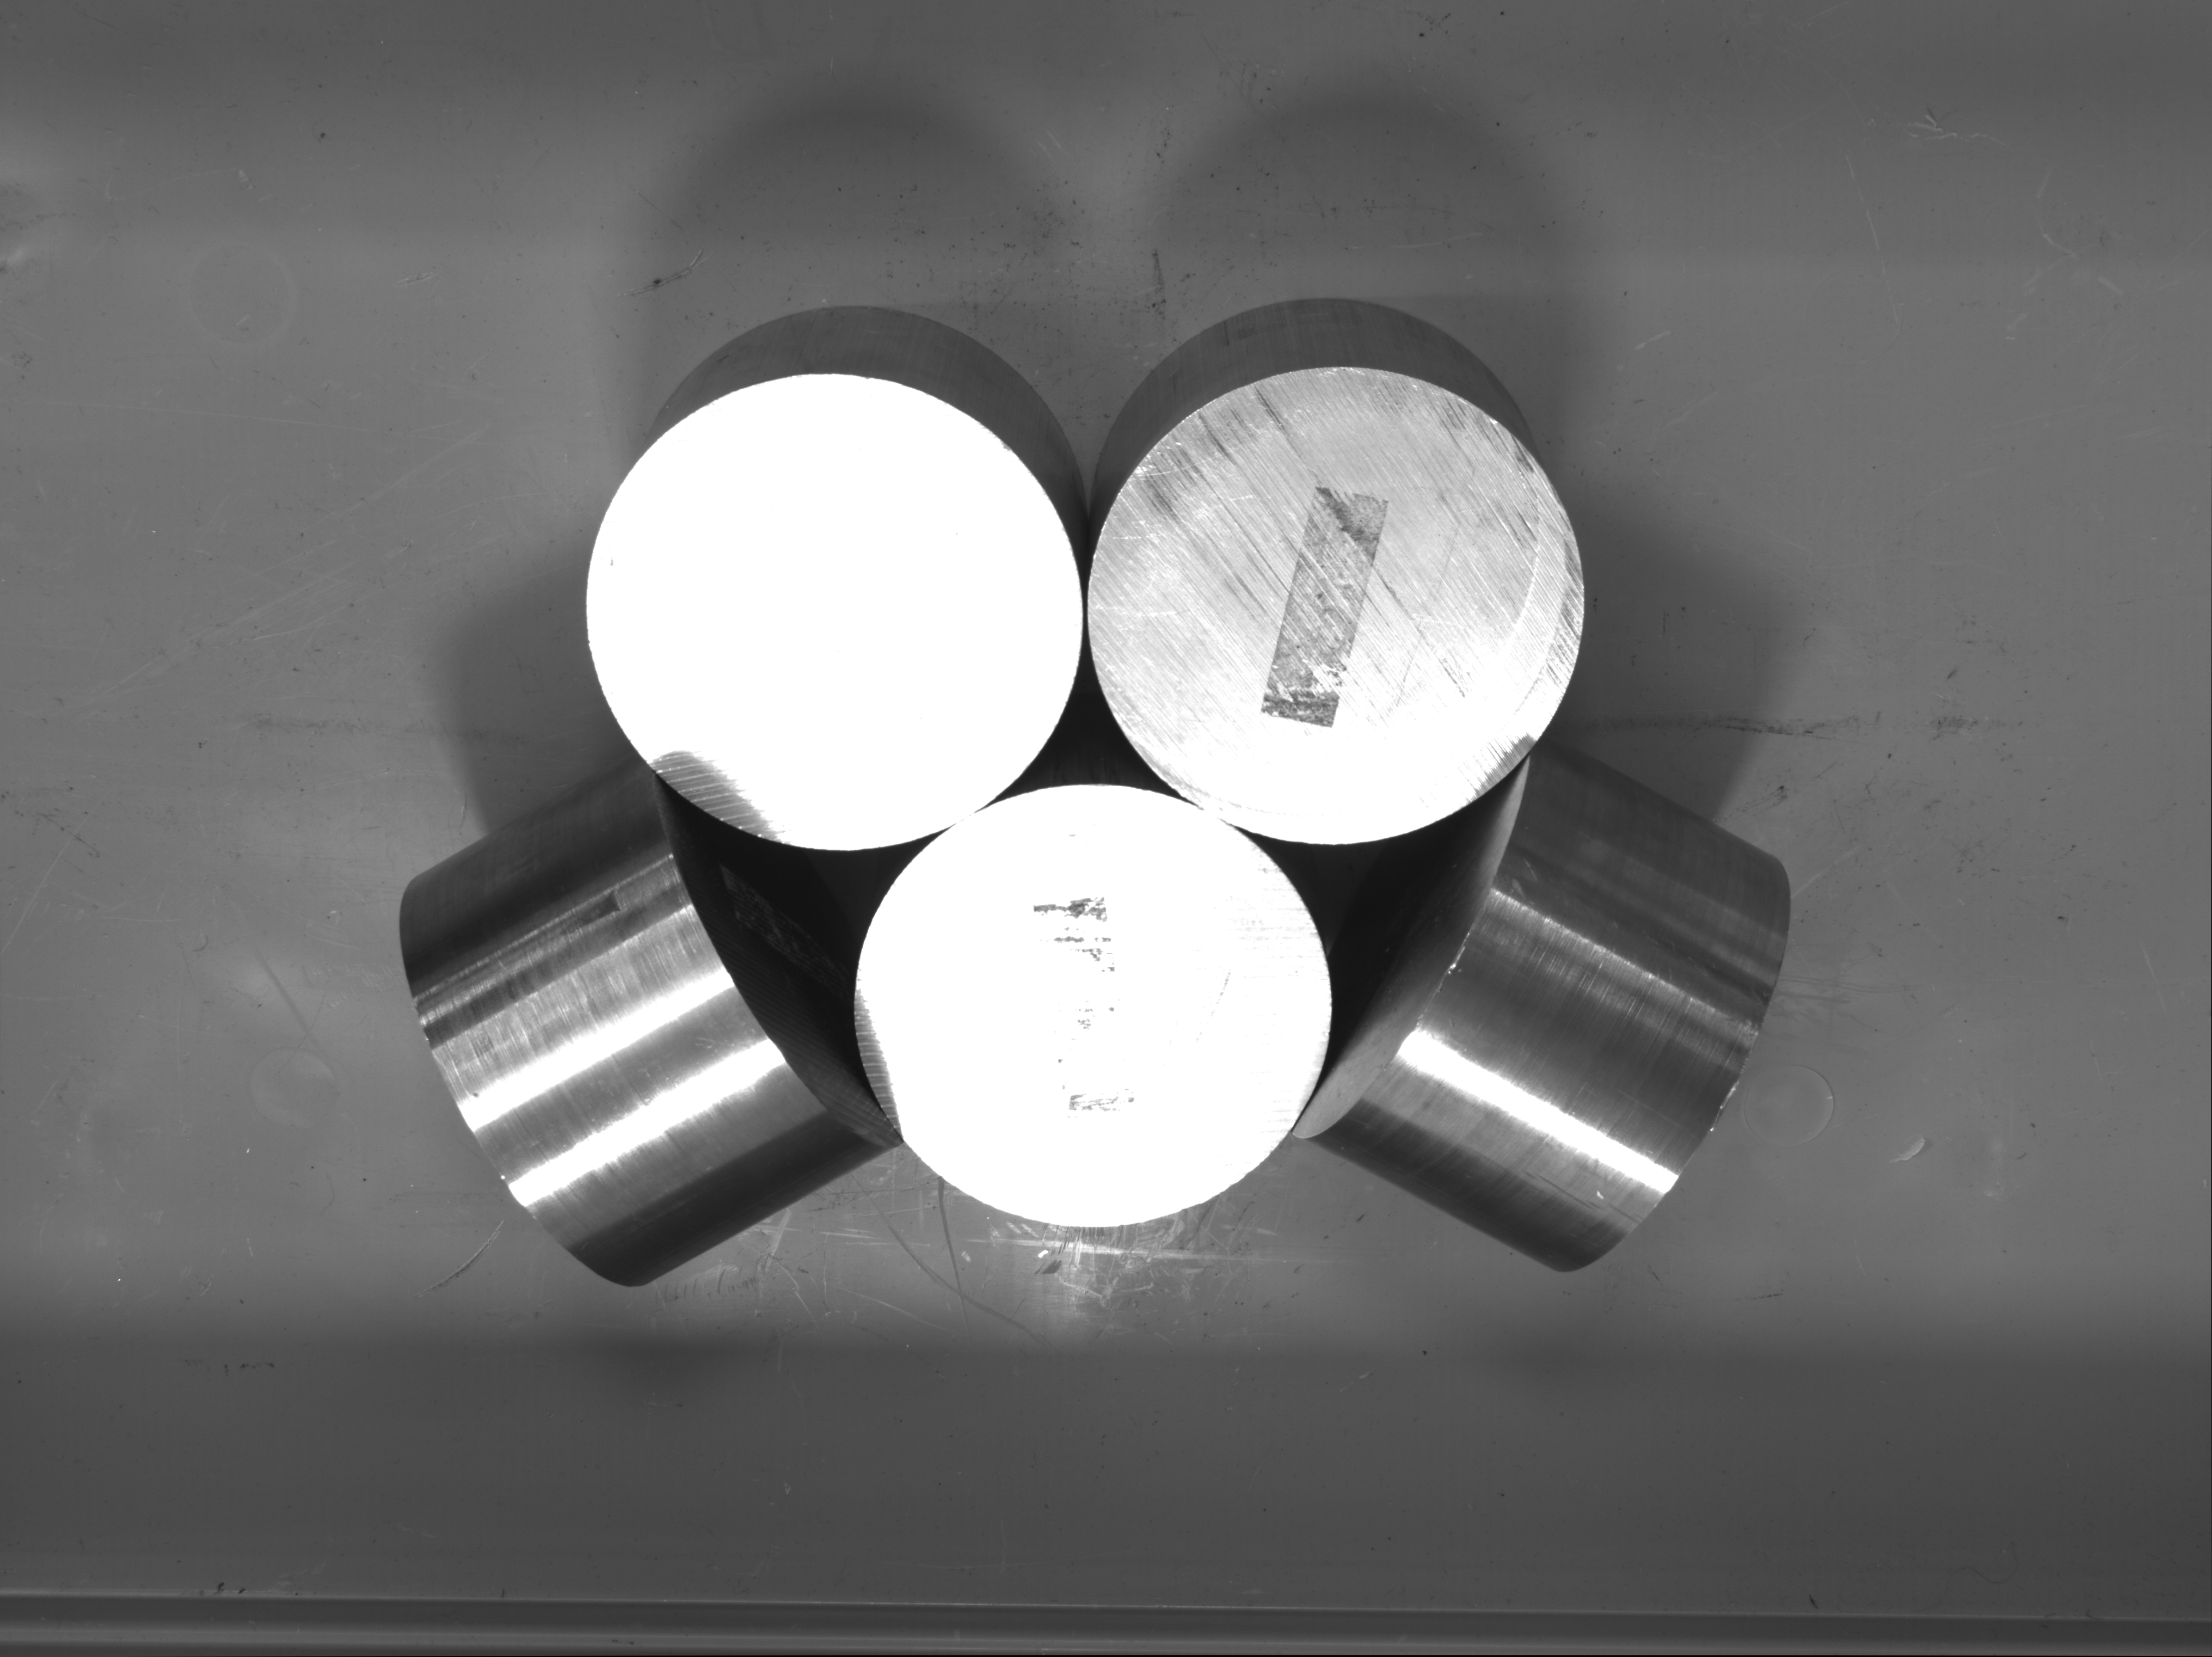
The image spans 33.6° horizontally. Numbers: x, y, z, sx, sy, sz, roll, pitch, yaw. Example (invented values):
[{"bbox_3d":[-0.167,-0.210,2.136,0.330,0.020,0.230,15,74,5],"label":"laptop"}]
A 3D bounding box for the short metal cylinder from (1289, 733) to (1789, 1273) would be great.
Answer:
[{"bbox_3d":[0.072,0.028,0.623,0.050,0.080,0.080,28,108,-9],"label":"short metal cylinder"}]

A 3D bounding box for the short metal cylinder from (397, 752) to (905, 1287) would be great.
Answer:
[{"bbox_3d":[-0.076,0.031,0.624,0.050,0.080,0.080,-29,107,10],"label":"short metal cylinder"}]

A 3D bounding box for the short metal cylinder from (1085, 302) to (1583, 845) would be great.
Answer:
[{"bbox_3d":[0.037,-0.043,0.613,0.080,0.050,0.080,0,110,0],"label":"short metal cylinder"}]

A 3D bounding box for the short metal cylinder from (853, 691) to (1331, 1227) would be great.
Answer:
[{"bbox_3d":[-0.002,0.022,0.637,0.080,0.050,0.080,0,110,0],"label":"short metal cylinder"}]

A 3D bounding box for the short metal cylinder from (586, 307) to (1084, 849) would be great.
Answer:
[{"bbox_3d":[-0.043,-0.043,0.613,0.080,0.050,0.080,0,110,0],"label":"short metal cylinder"}]
